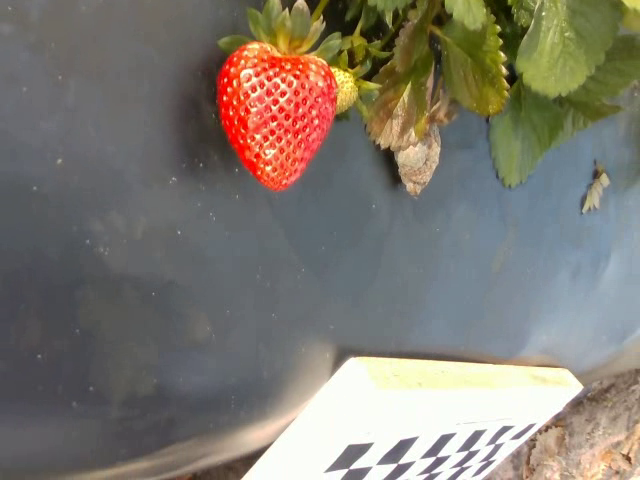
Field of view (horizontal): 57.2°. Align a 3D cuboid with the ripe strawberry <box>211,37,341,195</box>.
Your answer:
[{"bbox_3d":[-0.014,-0.040,0.195,0.050,0.058,0.045,-10,-20,38],"label":"ripe strawberry"}]
